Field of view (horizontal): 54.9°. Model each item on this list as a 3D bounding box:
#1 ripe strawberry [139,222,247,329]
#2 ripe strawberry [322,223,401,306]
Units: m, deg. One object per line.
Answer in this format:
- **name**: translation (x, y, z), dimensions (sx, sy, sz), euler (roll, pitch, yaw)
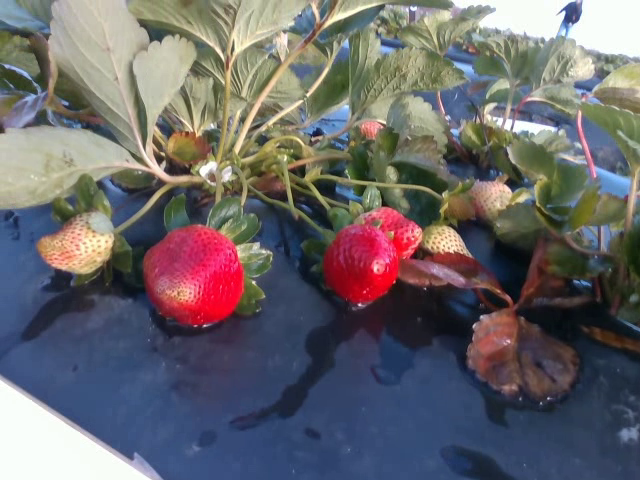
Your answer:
- **ripe strawberry**: translation (-0.060, 0.015, 0.268), dimensions (0.050, 0.050, 0.065), euler (-16, 3, 5)
- **ripe strawberry**: translation (0.021, 0.014, 0.298), dimensions (0.044, 0.042, 0.055), euler (-35, 8, -8)
